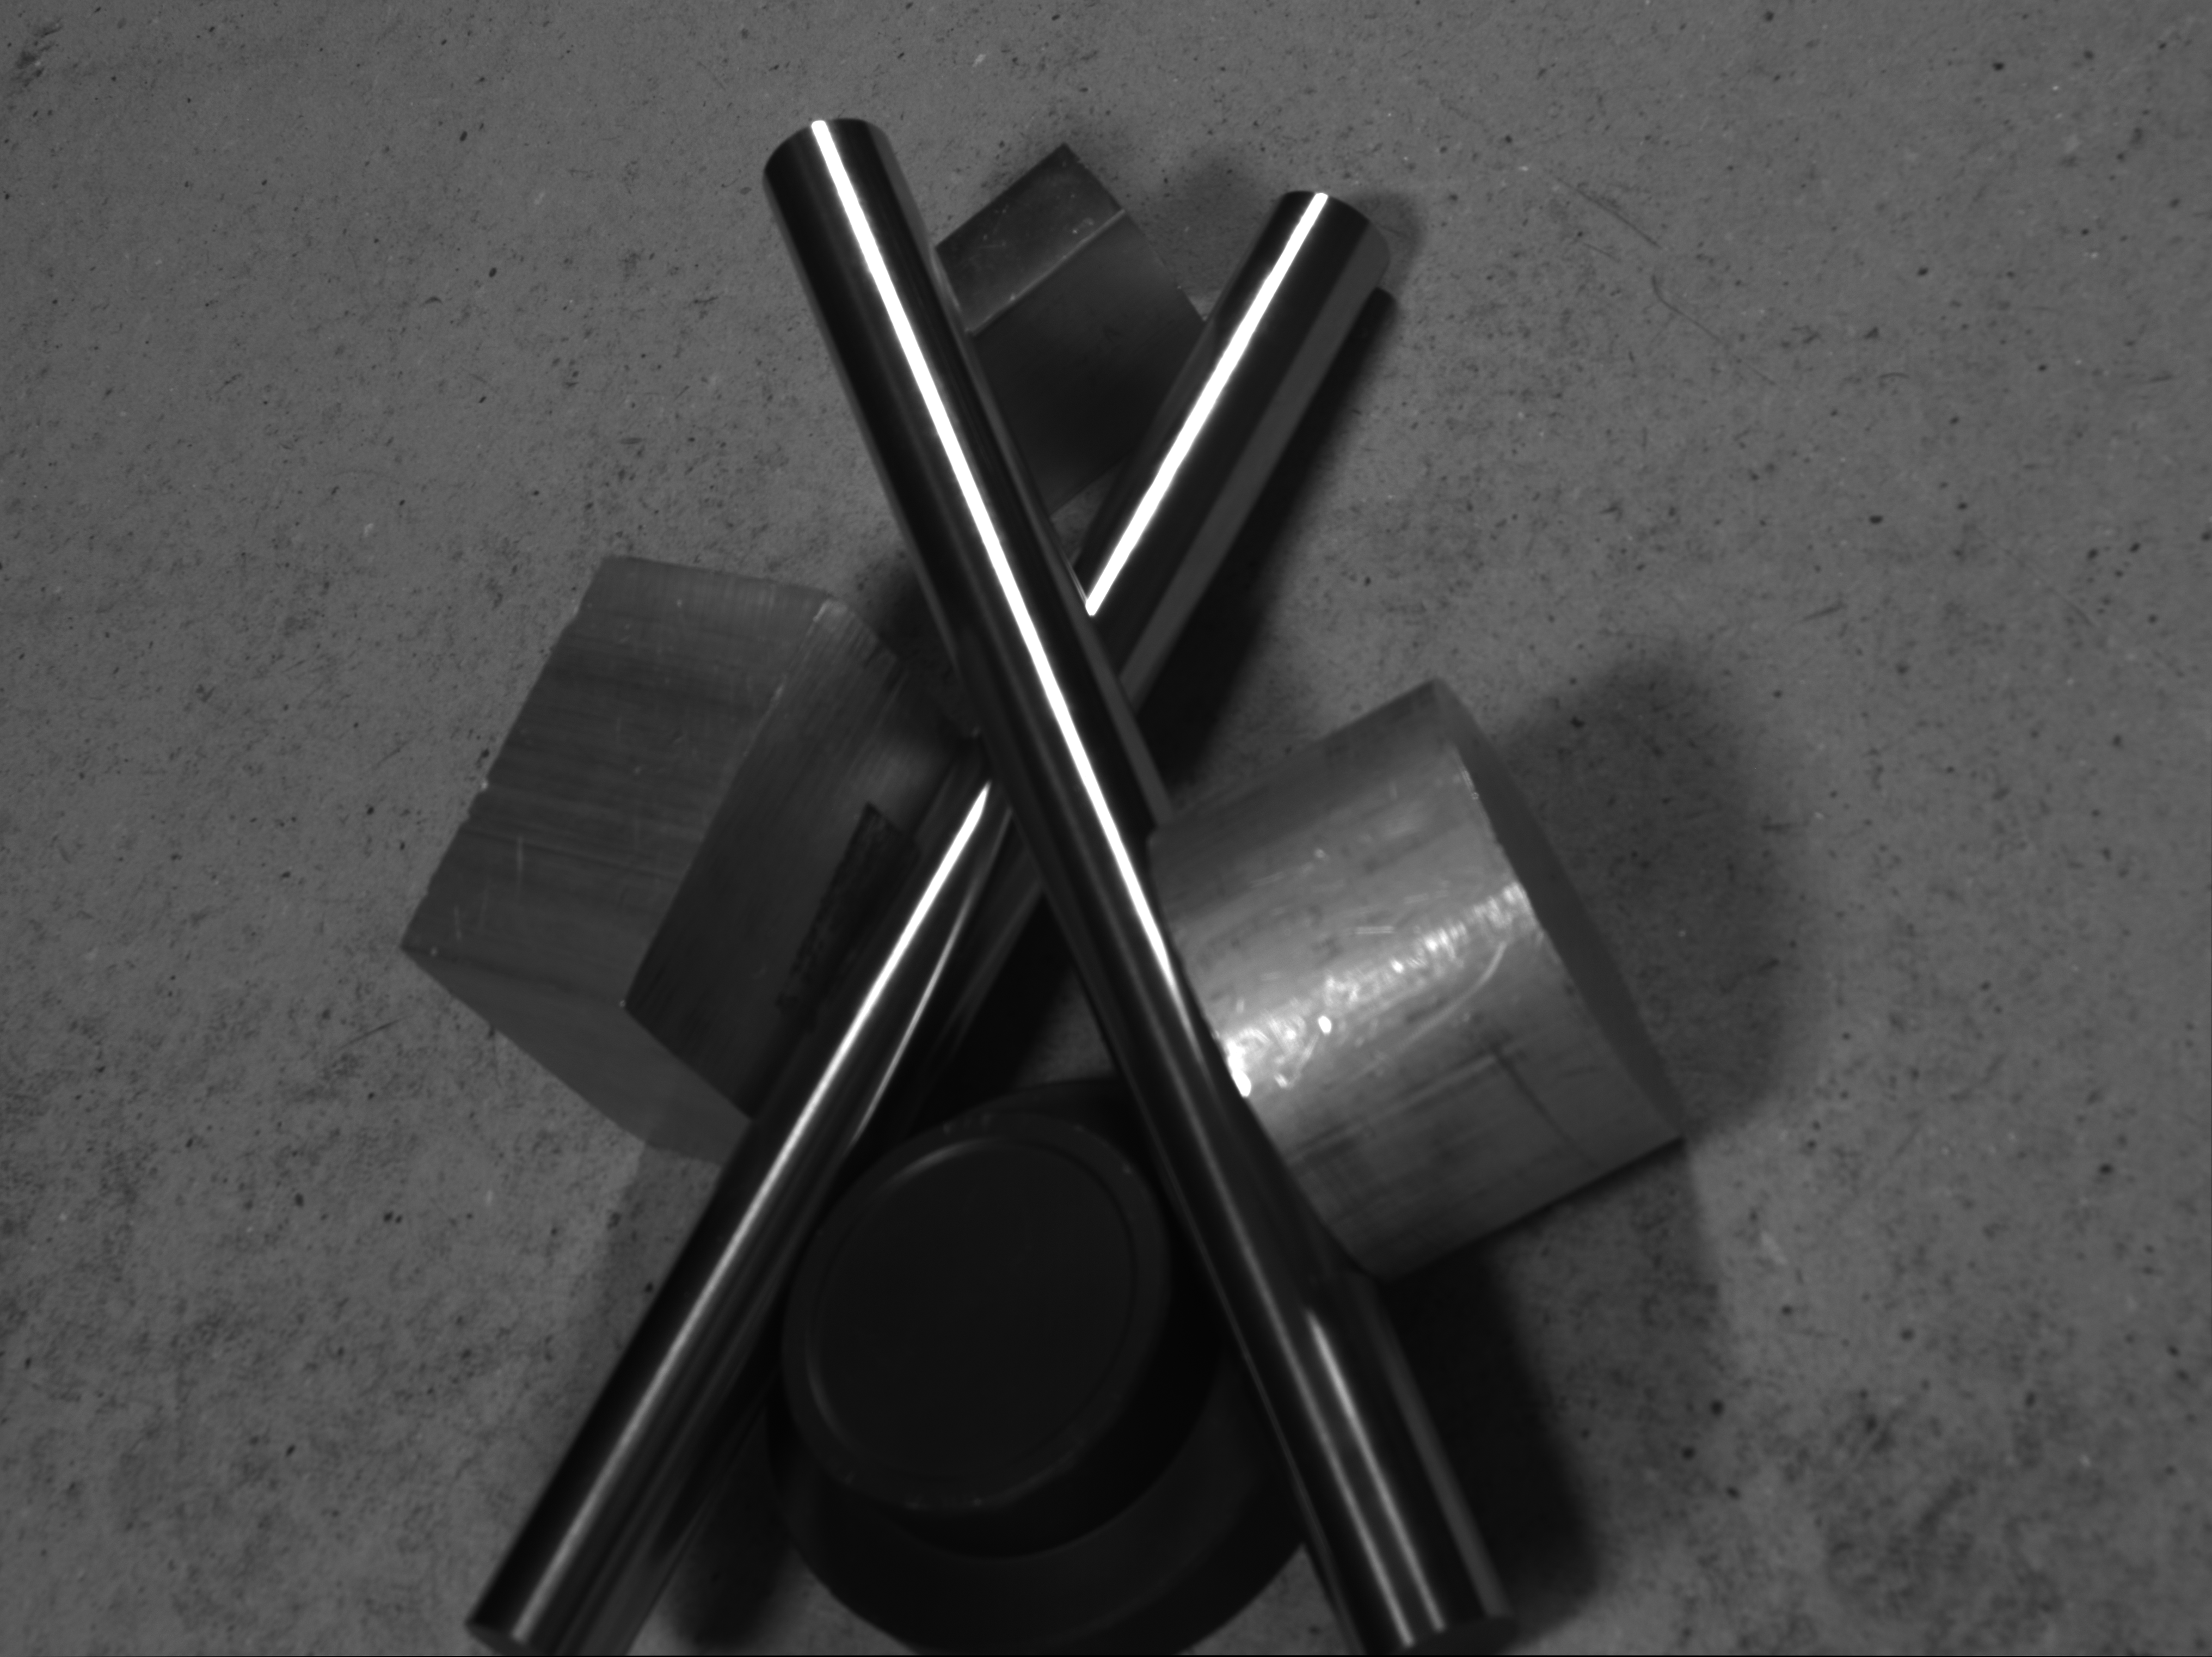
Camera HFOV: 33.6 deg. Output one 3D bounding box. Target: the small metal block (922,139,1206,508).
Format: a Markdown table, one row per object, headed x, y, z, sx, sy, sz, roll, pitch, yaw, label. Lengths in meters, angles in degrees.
| x | y | z | sx | sy | sz | roll | pitch | yaw | label |
| --- | --- | --- | --- | --- | --- | --- | --- | --- | --- |
| -0.011 | -0.093 | 0.691 | 0.050 | 0.050 | 0.025 | -39 | 51 | 2 | small metal block |

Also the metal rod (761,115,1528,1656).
| x | y | z | sx | sy | sz | roll | pitch | yaw | label |
| --- | --- | --- | --- | --- | --- | --- | --- | --- | --- |
| -0.001 | -0.001 | 0.602 | 0.025 | 0.025 | 0.300 | -28 | 61 | 10 | metal rod |

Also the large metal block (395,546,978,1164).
| x | y | z | sx | sy | sz | roll | pitch | yaw | label |
| --- | --- | --- | --- | --- | --- | --- | --- | --- | --- |
| -0.065 | 0.009 | 0.639 | 0.050 | 0.080 | 0.080 | 12 | 68 | 33 | large metal block |

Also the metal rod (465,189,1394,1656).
| x | y | z | sx | sy | sz | roll | pitch | yaw | label |
| --- | --- | --- | --- | --- | --- | --- | --- | --- | --- |
| -0.023 | 0.009 | 0.632 | 0.025 | 0.025 | 0.300 | 12 | 62 | 33 | metal rod |

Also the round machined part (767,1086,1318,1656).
| x | y | z | sx | sy | sz | roll | pitch | yaw | label |
| --- | --- | --- | --- | --- | --- | --- | --- | --- | --- |
| -0.012 | 0.085 | 0.588 | 0.098 | 0.042 | 0.098 | -13 | 56 | 21 | round machined part |

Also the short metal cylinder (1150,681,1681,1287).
| x | y | z | sx | sy | sz | roll | pitch | yaw | label |
| --- | --- | --- | --- | --- | --- | --- | --- | --- | --- |
| 0.048 | 0.024 | 0.569 | 0.050 | 0.080 | 0.080 | -28 | 52 | 10 | short metal cylinder |
